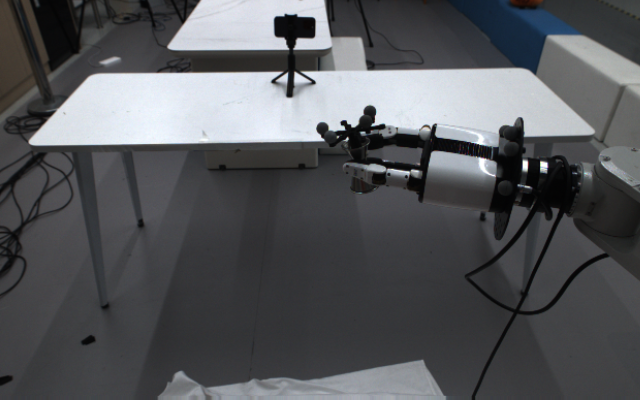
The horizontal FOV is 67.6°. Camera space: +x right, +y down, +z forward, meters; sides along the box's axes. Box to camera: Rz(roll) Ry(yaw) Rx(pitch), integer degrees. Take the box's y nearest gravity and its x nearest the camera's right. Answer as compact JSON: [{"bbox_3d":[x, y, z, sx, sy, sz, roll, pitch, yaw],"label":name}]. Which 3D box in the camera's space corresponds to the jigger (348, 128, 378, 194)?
[{"bbox_3d":[0.056,-0.048,0.669,0.043,0.071,0.043,-12,29,7],"label":"jigger"}]
